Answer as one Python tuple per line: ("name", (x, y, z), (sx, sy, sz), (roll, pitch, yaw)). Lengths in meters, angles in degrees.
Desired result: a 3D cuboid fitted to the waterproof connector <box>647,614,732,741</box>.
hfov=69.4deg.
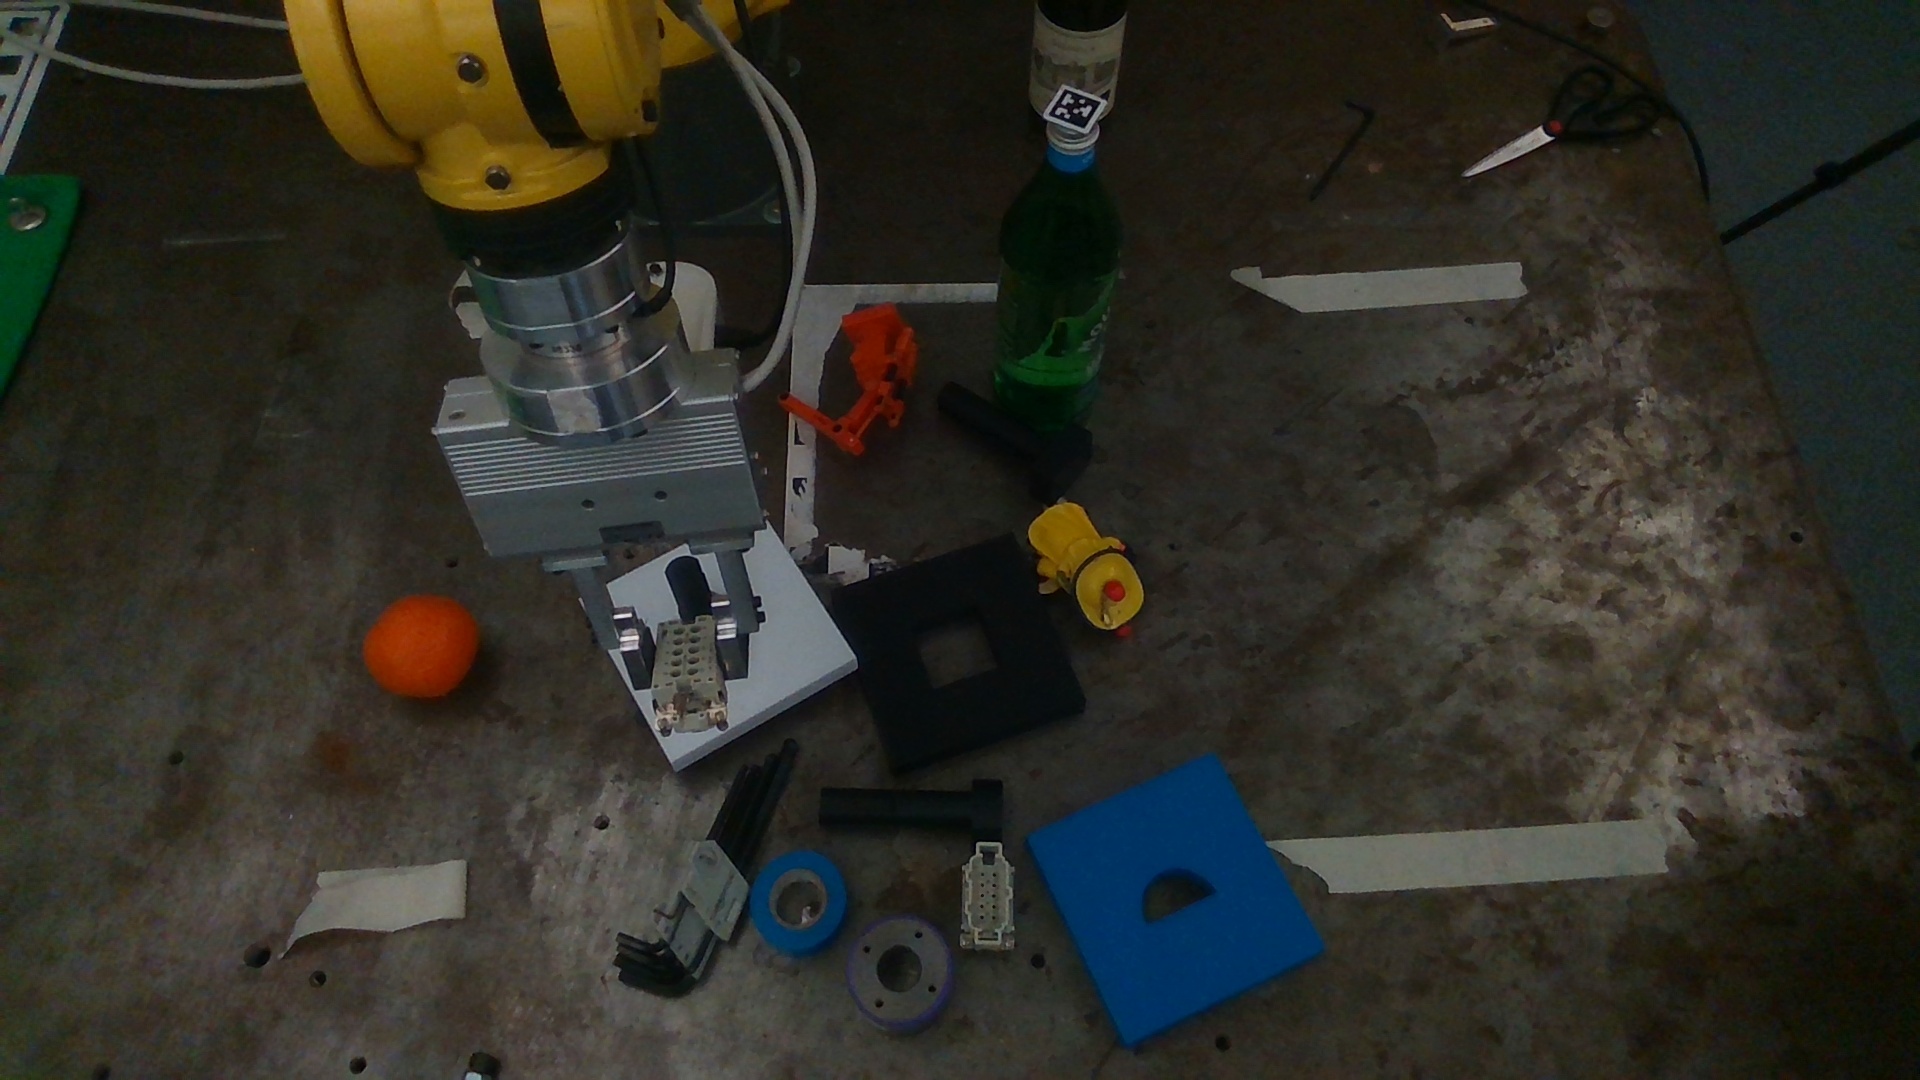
("waterproof connector", (-0.135, 0.068, 0.701), (0.037, 0.038, 0.069), (-8, 45, 3))
